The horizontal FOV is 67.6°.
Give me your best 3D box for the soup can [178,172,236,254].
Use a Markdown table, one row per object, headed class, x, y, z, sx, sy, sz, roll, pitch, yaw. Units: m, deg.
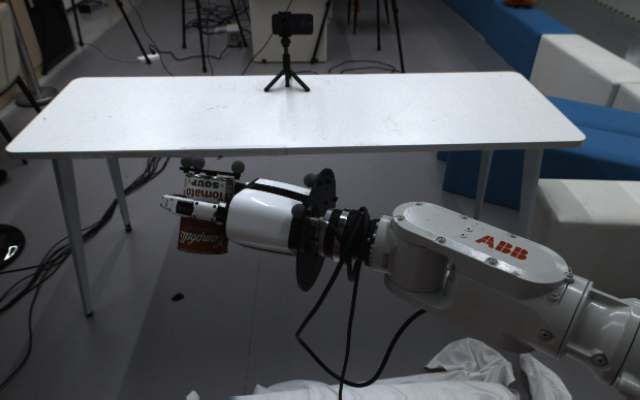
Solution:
| class | x | y | z | sx | sy | sz | roll | pitch | yaw |
| --- | --- | --- | --- | --- | --- | --- | --- | --- | --- |
| soup can | -0.151 | 0.018 | 0.648 | 0.067 | 0.101 | 0.067 | 7 | 3 | 0 |
